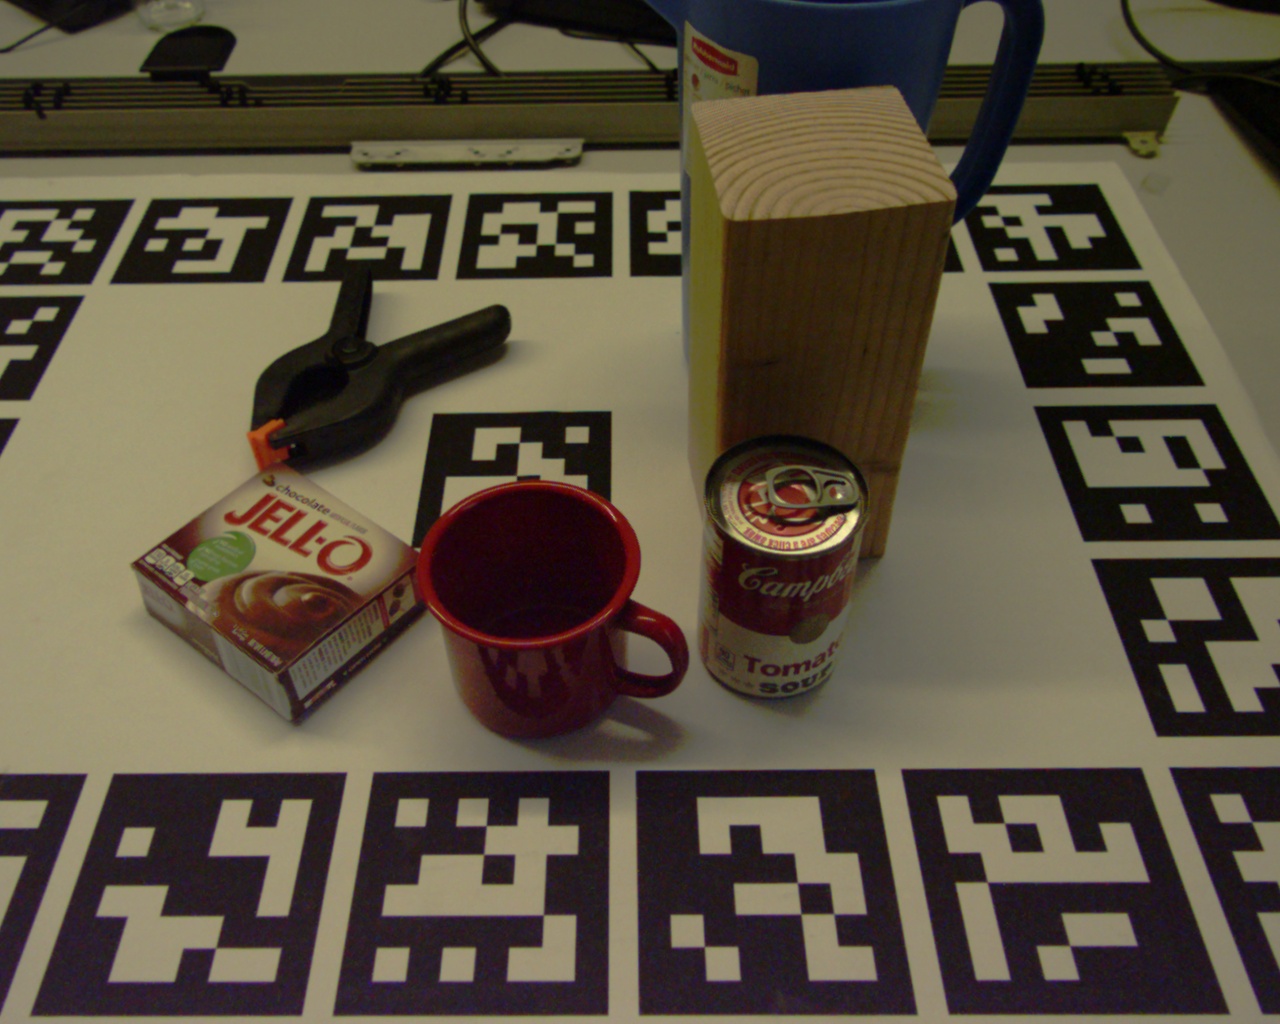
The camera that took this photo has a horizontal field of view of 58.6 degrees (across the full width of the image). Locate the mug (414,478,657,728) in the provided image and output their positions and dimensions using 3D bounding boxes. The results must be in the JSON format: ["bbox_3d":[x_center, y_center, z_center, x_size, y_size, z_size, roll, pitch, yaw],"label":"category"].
[{"bbox_3d":[-0.043,0.050,0.521,0.118,0.081,0.092,27,51,25],"label":"mug"}]

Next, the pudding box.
[{"bbox_3d":[-0.185,0.033,0.575,0.115,0.038,0.089,28,57,26],"label":"pudding box"}]

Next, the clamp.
[{"bbox_3d":[-0.165,-0.082,0.689,0.123,0.036,0.164,26,53,15],"label":"clamp"}]

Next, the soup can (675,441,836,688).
[{"bbox_3d":[0.050,0.026,0.524,0.068,0.101,0.068,-1,49,1],"label":"soup can"}]

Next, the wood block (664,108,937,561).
[{"bbox_3d":[0.066,-0.075,0.547,0.090,0.206,0.091,-1,47,-4],"label":"wood block"}]

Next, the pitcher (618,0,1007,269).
[{"bbox_3d":[0.089,-0.175,0.618,0.189,0.241,0.134,-3,45,2],"label":"pitcher"}]
